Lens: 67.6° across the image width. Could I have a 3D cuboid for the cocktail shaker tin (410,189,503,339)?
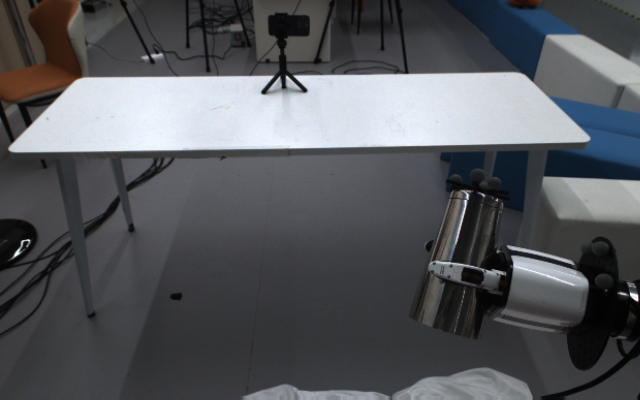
[{"bbox_3d":[0.180,0.077,0.614,0.093,0.170,0.093,15,-4,1],"label":"cocktail shaker tin"}]
